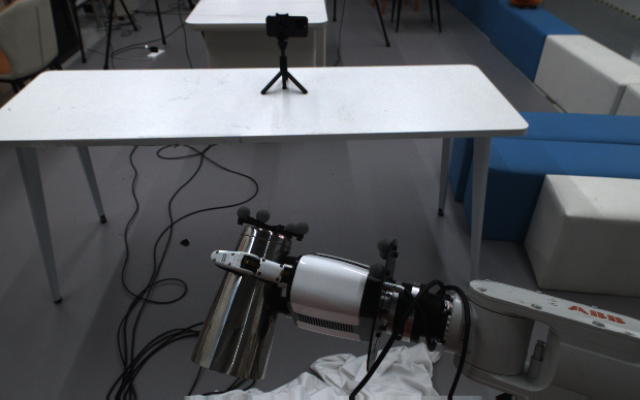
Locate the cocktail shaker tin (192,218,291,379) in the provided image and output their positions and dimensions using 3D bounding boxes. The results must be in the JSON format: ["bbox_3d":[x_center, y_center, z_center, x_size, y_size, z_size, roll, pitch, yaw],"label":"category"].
[{"bbox_3d":[-0.086,0.122,0.604,0.093,0.093,0.170,12,77,14],"label":"cocktail shaker tin"}]
